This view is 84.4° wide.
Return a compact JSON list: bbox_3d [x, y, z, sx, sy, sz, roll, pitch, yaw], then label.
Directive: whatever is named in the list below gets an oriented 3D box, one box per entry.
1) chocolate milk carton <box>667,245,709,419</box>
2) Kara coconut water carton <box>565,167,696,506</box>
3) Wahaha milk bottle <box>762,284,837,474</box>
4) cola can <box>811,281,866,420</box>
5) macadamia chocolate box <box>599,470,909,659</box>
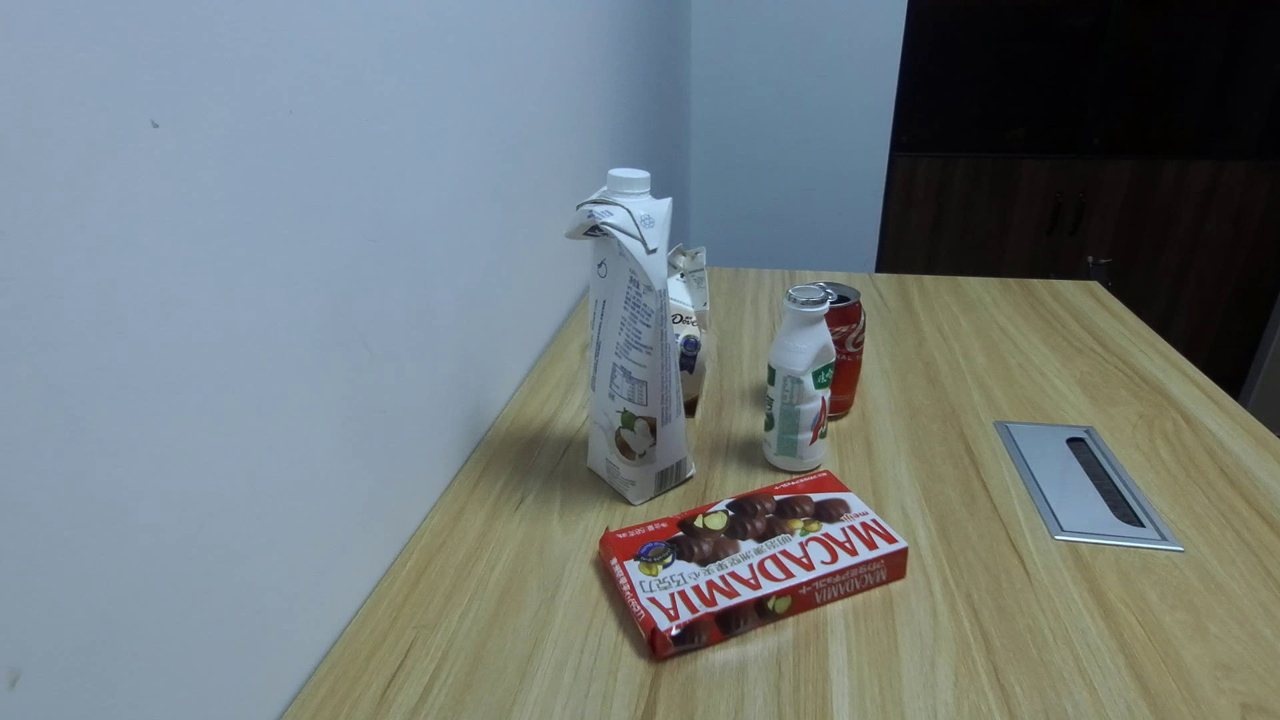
[{"bbox_3d":[0.027,-0.031,0.657,0.076,0.155,0.089,5,12,5],"label":"chocolate milk carton"},{"bbox_3d":[-0.006,-0.016,0.517,0.069,0.239,0.114,-19,29,-28],"label":"Kara coconut water carton"},{"bbox_3d":[0.125,0.016,0.547,0.056,0.148,0.056,-1,26,1],"label":"Wahaha milk bottle"},{"bbox_3d":[0.167,-0.013,0.639,0.066,0.117,0.066,-1,35,10],"label":"cola can"},{"bbox_3d":[0.073,0.127,0.464,0.183,0.028,0.105,-12,27,-18],"label":"macadamia chocolate box"}]
